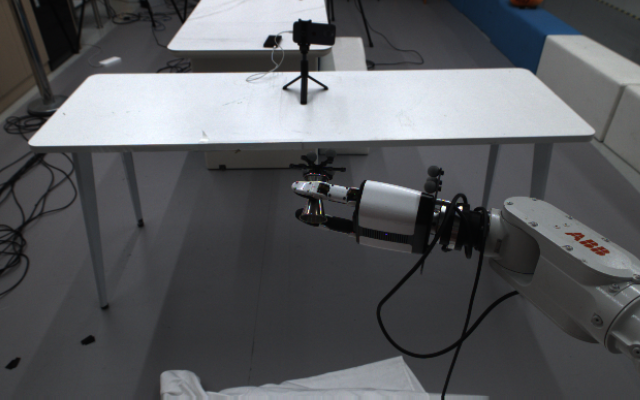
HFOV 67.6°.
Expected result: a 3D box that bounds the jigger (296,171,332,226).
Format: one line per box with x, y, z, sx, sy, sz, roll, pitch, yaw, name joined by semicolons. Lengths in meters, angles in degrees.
-0.010;-0.004;0.749;0.043;0.043;0.071;4;71;3;jigger
